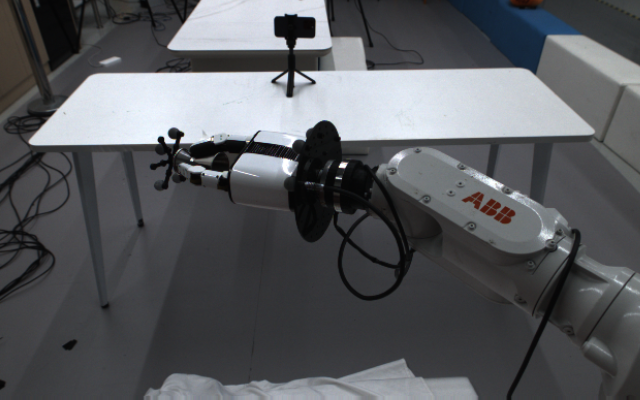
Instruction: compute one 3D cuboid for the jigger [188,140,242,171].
[{"bbox_3d":[-0.166,-0.053,0.695,0.071,0.043,0.043,10,35,21],"label":"jigger"}]
